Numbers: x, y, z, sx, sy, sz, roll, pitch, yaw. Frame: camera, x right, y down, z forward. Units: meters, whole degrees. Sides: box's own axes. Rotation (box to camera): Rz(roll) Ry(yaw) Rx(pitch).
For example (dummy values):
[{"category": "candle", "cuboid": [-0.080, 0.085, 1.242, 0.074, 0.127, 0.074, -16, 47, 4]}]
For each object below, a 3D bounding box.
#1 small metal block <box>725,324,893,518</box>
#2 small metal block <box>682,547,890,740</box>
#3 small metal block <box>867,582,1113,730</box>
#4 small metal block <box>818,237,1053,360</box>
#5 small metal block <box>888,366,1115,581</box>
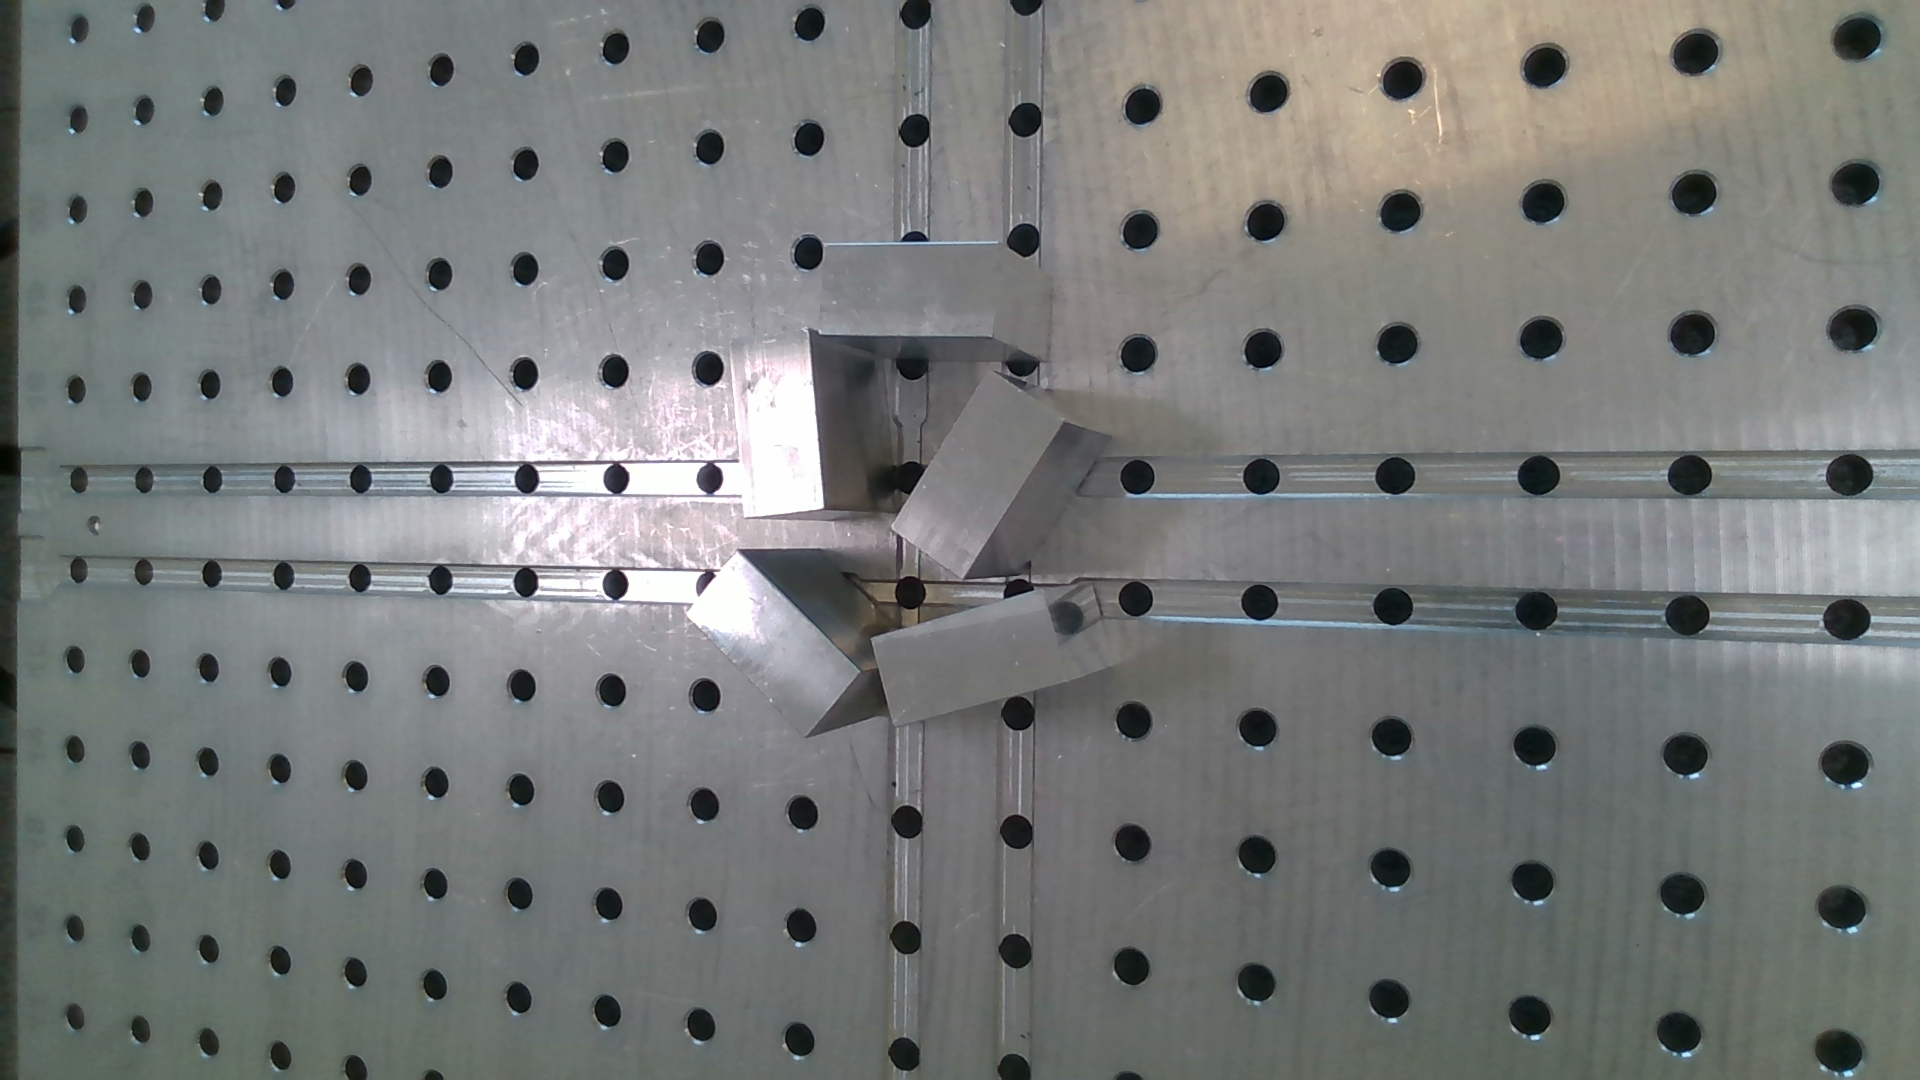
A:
[{"category": "small metal block", "cuboid": [-0.042, -0.032, 0.398, 0.025, 0.050, 0.050, -5, 88, 20]}, {"category": "small metal block", "cuboid": [-0.044, 0.028, 0.399, 0.050, 0.050, 0.025, 44, 103, 15]}, {"category": "small metal block", "cuboid": [0.010, 0.031, 0.379, 0.050, 0.050, 0.025, -17, 84, 19]}, {"category": "small metal block", "cuboid": [-0.005, -0.066, 0.384, 0.050, 0.050, 0.025, 4, 91, 21]}, {"category": "small metal block", "cuboid": [0.013, -0.017, 0.378, 0.025, 0.050, 0.050, 36, 102, 17]}]
